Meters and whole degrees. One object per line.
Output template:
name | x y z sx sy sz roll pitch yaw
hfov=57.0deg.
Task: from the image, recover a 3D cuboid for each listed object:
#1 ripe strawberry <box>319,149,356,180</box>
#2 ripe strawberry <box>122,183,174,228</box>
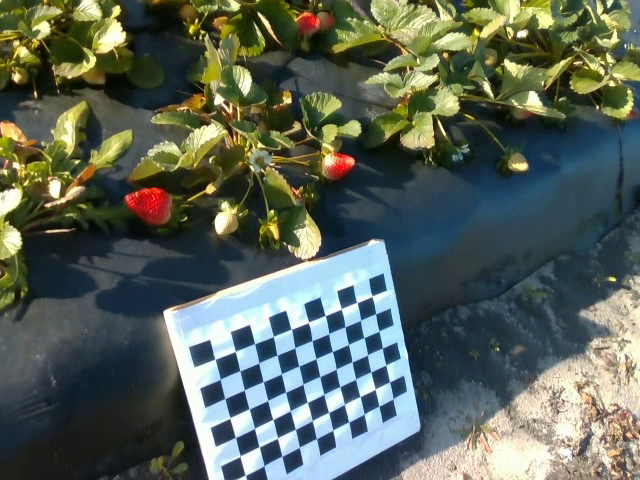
ripe strawberry | 0.020 -0.084 0.640 0.045 0.037 0.042 -15 24 35
ripe strawberry | -0.162 -0.035 0.549 0.053 0.044 0.036 13 -2 -38
